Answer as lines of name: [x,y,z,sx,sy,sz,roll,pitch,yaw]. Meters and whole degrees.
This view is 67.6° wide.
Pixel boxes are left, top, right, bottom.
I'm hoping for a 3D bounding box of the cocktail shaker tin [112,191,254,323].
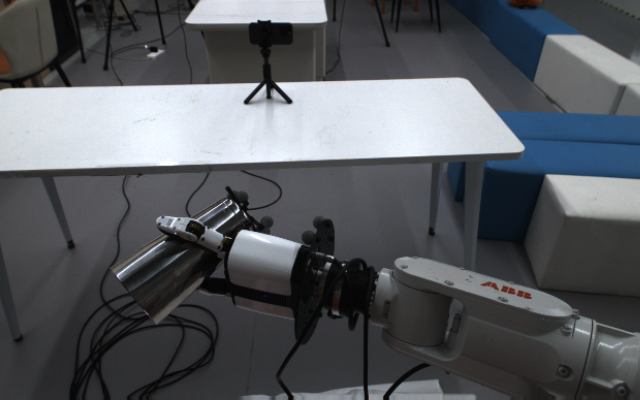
cocktail shaker tin: [-0.173,0.067,0.635,0.170,0.093,0.093,-38,49,-23]
